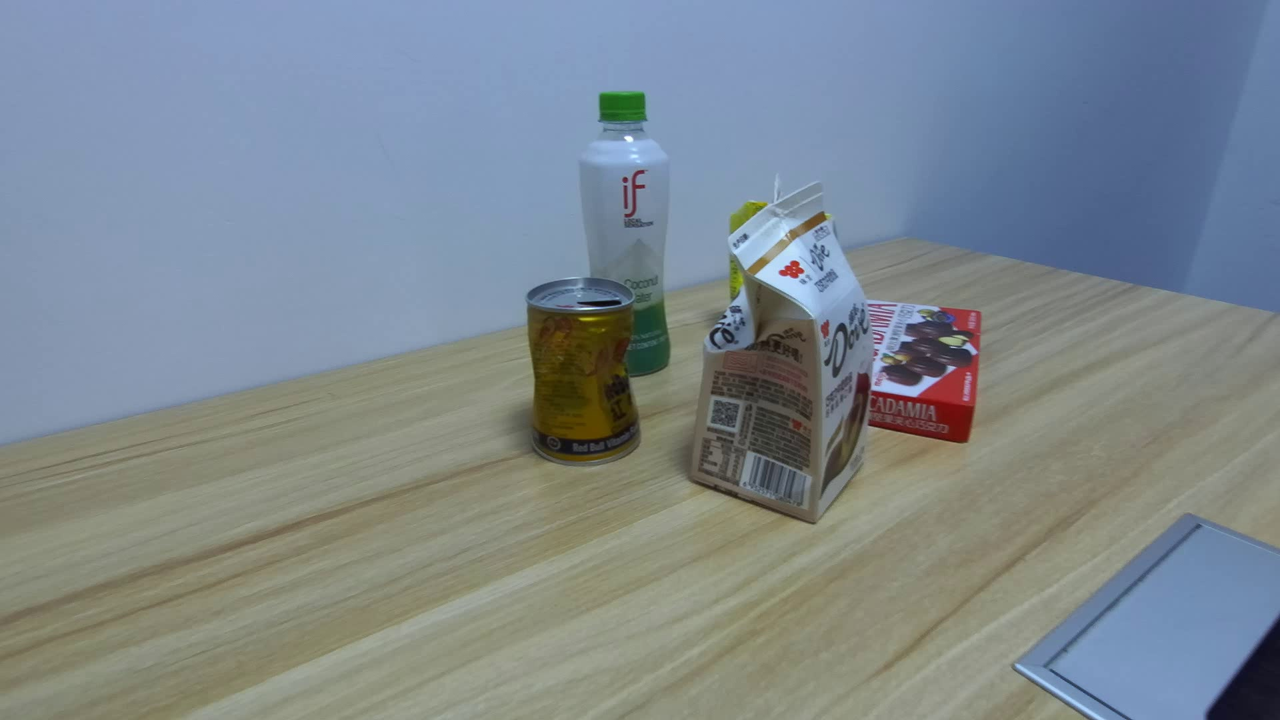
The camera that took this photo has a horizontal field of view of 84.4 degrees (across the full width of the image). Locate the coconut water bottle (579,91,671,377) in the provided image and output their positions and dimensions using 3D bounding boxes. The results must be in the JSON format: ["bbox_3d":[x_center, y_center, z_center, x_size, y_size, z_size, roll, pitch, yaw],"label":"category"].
[{"bbox_3d":[-0.010,-0.085,0.493,0.063,0.188,0.063,-1,19,1],"label":"coconut water bottle"}]

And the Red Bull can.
[{"bbox_3d":[-0.033,0.006,0.406,0.072,0.092,0.072,0,22,0],"label":"Red Bull can"}]

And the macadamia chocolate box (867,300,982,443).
[{"bbox_3d":[0.187,0.000,0.499,0.095,0.027,0.178,9,25,24],"label":"macadamia chocolate box"}]

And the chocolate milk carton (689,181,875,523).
[{"bbox_3d":[0.073,-0.010,0.356,0.073,0.155,0.076,13,26,32],"label":"chocolate milk carton"}]
